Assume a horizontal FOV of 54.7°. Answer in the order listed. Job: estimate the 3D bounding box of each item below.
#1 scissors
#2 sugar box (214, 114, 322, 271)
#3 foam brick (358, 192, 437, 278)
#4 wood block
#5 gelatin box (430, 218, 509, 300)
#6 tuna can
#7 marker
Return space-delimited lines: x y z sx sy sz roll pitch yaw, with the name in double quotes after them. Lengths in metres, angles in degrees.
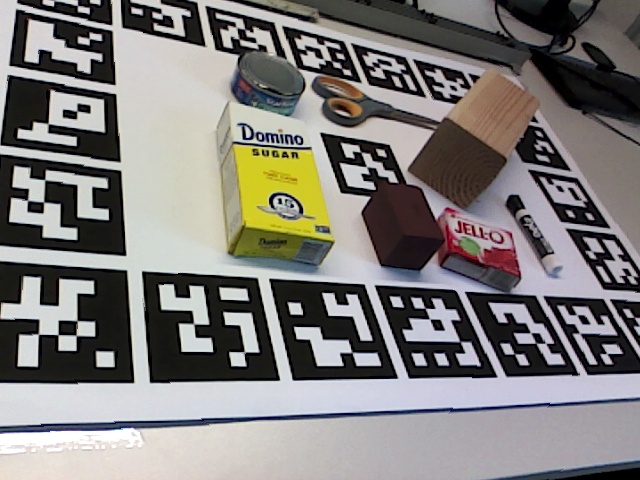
0.077 -0.166 0.840 0.202 0.016 0.088 10 48 -19 "scissors"
-0.058 -0.052 0.640 0.092 0.045 0.177 10 48 -23 "sugar box"
0.082 -0.005 0.665 0.052 0.051 0.078 7 50 -24 "foam brick"
0.208 -0.127 0.830 0.090 0.091 0.206 37 42 6 "wood block"
0.171 0.021 0.714 0.089 0.030 0.073 20 45 -13 "gelatin box"
-0.071 -0.182 0.752 0.085 0.034 0.086 15 46 -17 "tuna can"
0.258 0.001 0.788 0.019 0.020 0.121 7 51 -25 "marker"
